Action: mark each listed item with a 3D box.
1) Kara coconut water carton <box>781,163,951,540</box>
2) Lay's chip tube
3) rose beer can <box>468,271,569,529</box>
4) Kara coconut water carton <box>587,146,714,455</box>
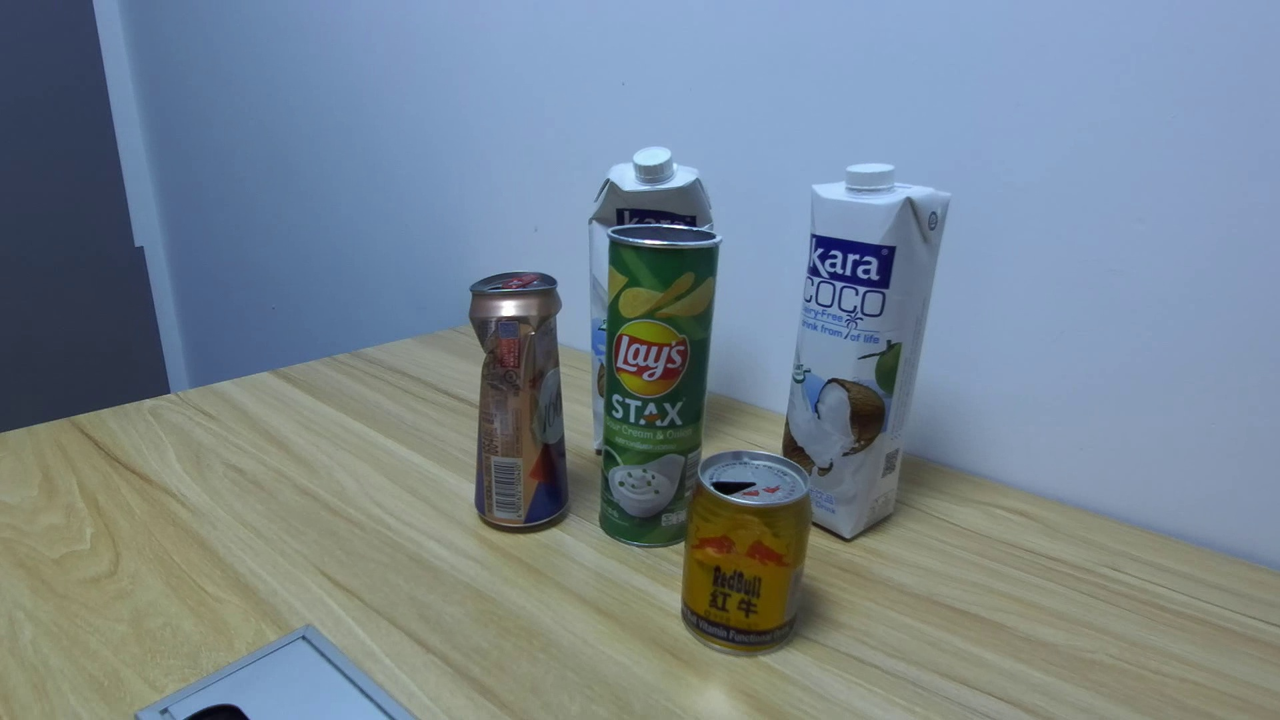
[{"bbox_3d":[0.147,-0.006,0.480,0.076,0.245,0.076,-13,24,-41],"label":"Kara coconut water carton"},{"bbox_3d":[0.011,0.016,0.459,0.071,0.202,0.071,2,21,-1],"label":"Lay's chip tube"},{"bbox_3d":[-0.083,0.029,0.478,0.065,0.167,0.076,6,20,19],"label":"rose beer can"},{"bbox_3d":[0.010,-0.046,0.575,0.099,0.244,0.071,1,18,2],"label":"Kara coconut water carton"}]
